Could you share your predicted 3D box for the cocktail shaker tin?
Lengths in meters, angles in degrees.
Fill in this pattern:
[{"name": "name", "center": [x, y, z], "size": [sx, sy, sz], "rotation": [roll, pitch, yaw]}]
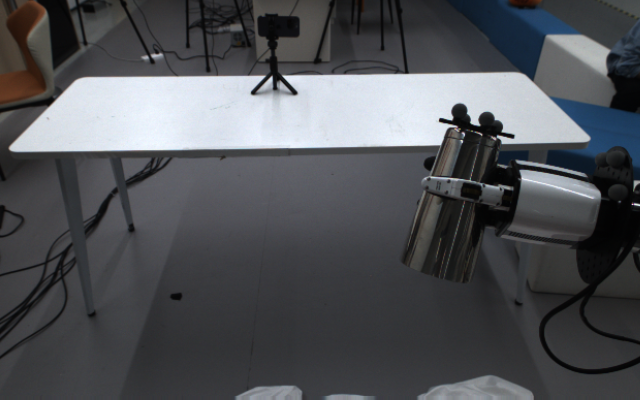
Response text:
[{"name": "cocktail shaker tin", "center": [0.166, 0.004, 0.588], "size": [0.093, 0.170, 0.093], "rotation": [14, 6, -1]}]
